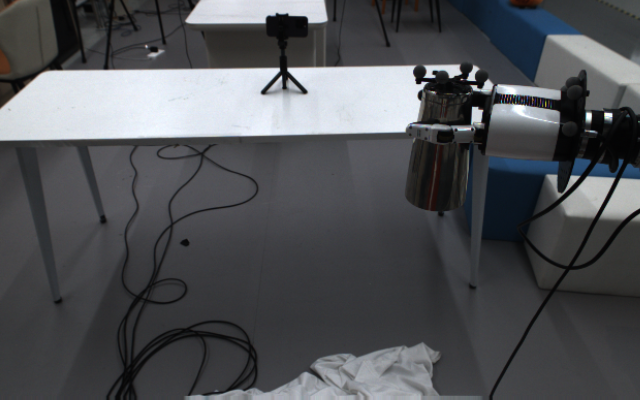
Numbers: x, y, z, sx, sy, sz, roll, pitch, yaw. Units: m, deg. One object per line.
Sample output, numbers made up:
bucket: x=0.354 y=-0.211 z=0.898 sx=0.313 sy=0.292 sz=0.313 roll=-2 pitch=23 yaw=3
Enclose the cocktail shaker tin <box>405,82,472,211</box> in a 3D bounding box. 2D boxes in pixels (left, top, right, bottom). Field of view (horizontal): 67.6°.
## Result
cocktail shaker tin: x=0.179 y=-0.084 z=0.699 sx=0.093 sy=0.170 sz=0.093 roll=-1 pitch=32 yaw=1
